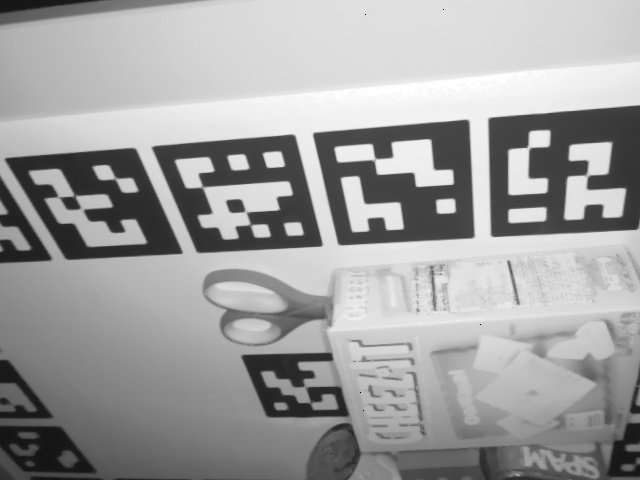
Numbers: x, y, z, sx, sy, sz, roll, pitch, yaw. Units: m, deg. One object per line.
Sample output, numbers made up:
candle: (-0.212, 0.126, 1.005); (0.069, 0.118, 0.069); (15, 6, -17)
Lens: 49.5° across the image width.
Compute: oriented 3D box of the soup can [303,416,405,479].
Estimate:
soup can: (0.041, 0.230, 0.698); (0.067, 0.068, 0.102); (-34, 122, 29)

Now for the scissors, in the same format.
scissors: (0.027, 0.043, 0.559); (0.202, 0.016, 0.087); (-5, 127, 10)

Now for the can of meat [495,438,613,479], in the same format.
can of meat: (0.208, 0.194, 0.625); (0.102, 0.084, 0.057); (11, 128, -1)

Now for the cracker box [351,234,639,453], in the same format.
cracker box: (0.141, 0.089, 0.542); (0.213, 0.072, 0.163); (-7, 128, 8)

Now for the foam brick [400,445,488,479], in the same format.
foam brick: (0.119, 0.208, 0.672); (0.077, 0.052, 0.052); (-9, 126, 14)
